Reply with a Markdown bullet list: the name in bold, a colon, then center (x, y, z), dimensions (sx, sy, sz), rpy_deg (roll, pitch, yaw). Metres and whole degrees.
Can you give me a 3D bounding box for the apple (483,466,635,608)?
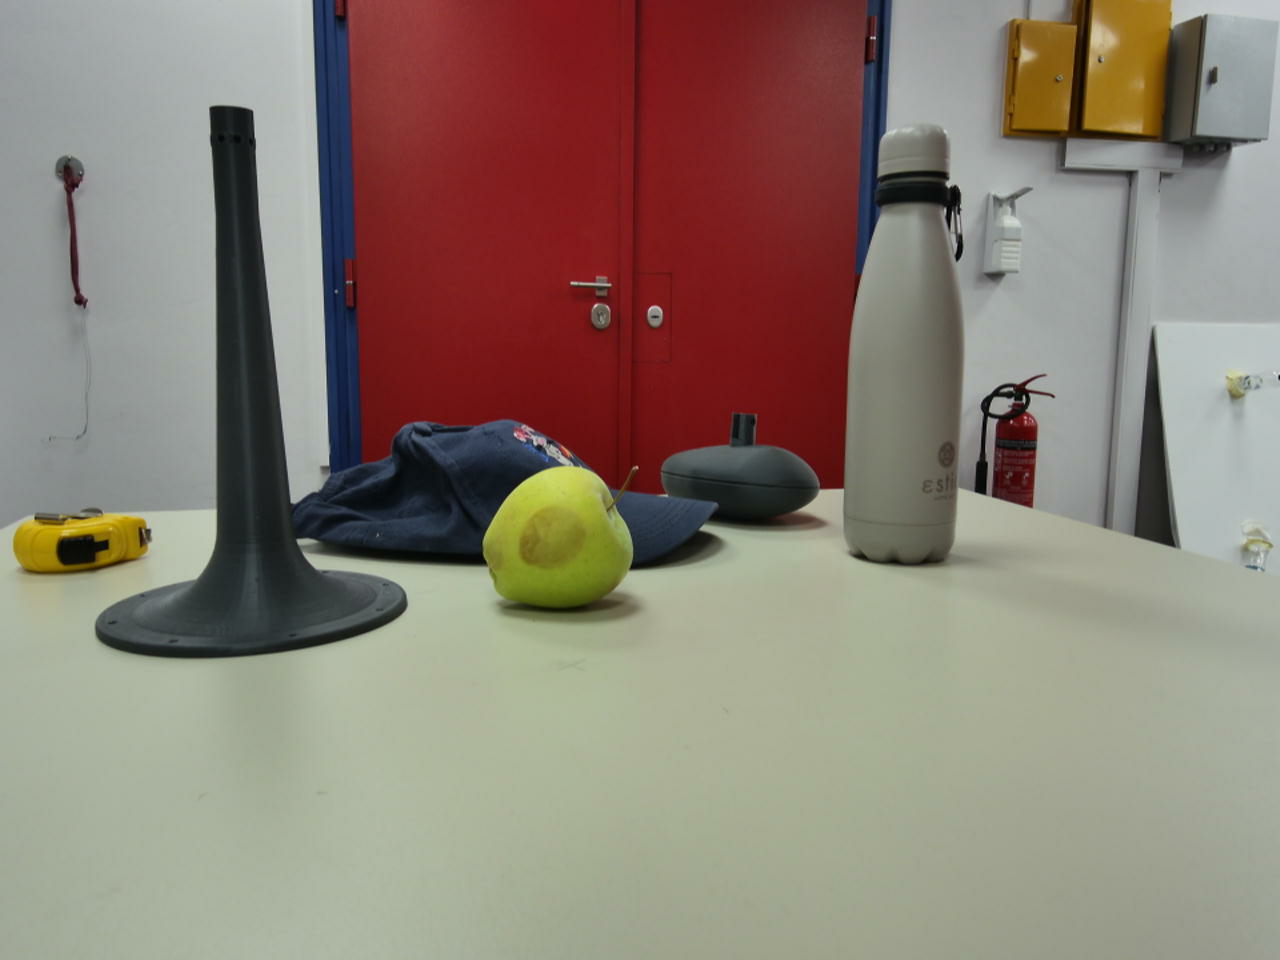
- **apple**: center (-0.042, 0.030, 0.537), dimensions (0.077, 0.075, 0.072), rpy_deg (5, 8, 31)
